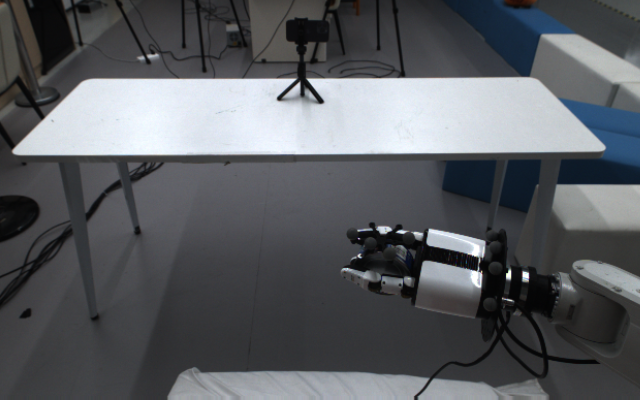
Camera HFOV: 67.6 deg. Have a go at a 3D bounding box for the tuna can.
[{"bbox_3d":[0.096,0.096,0.706,0.085,0.085,0.034,12,39,13],"label":"tuna can"}]
